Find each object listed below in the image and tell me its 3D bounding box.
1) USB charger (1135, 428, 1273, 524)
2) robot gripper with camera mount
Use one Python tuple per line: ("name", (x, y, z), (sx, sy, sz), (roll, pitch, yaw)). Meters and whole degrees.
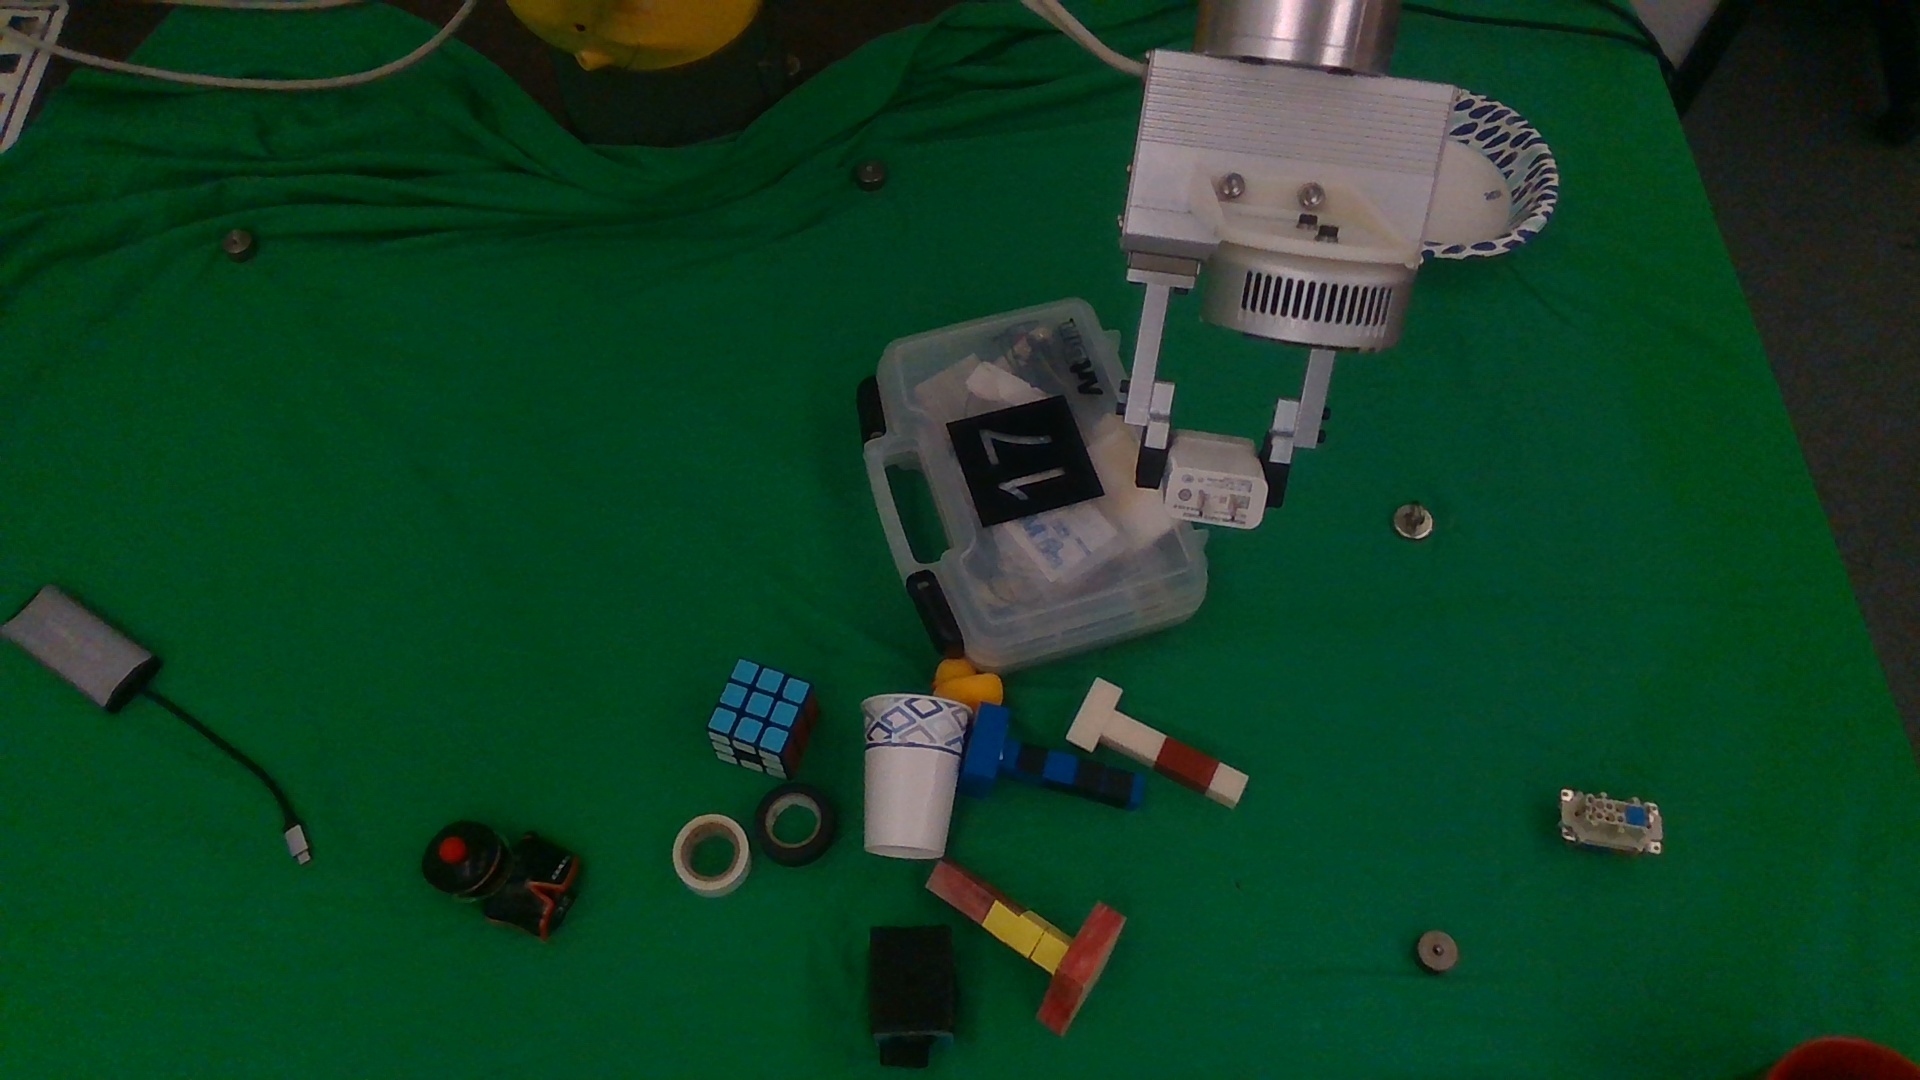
("USB charger", (0.106, -0.027, 0.592), (0.044, 0.076, 0.029), (11, 103, -13))
("robot gripper with camera mount", (0.114, -0.080, 0.515), (0.119, 0.193, 0.158), (11, 107, 1))
